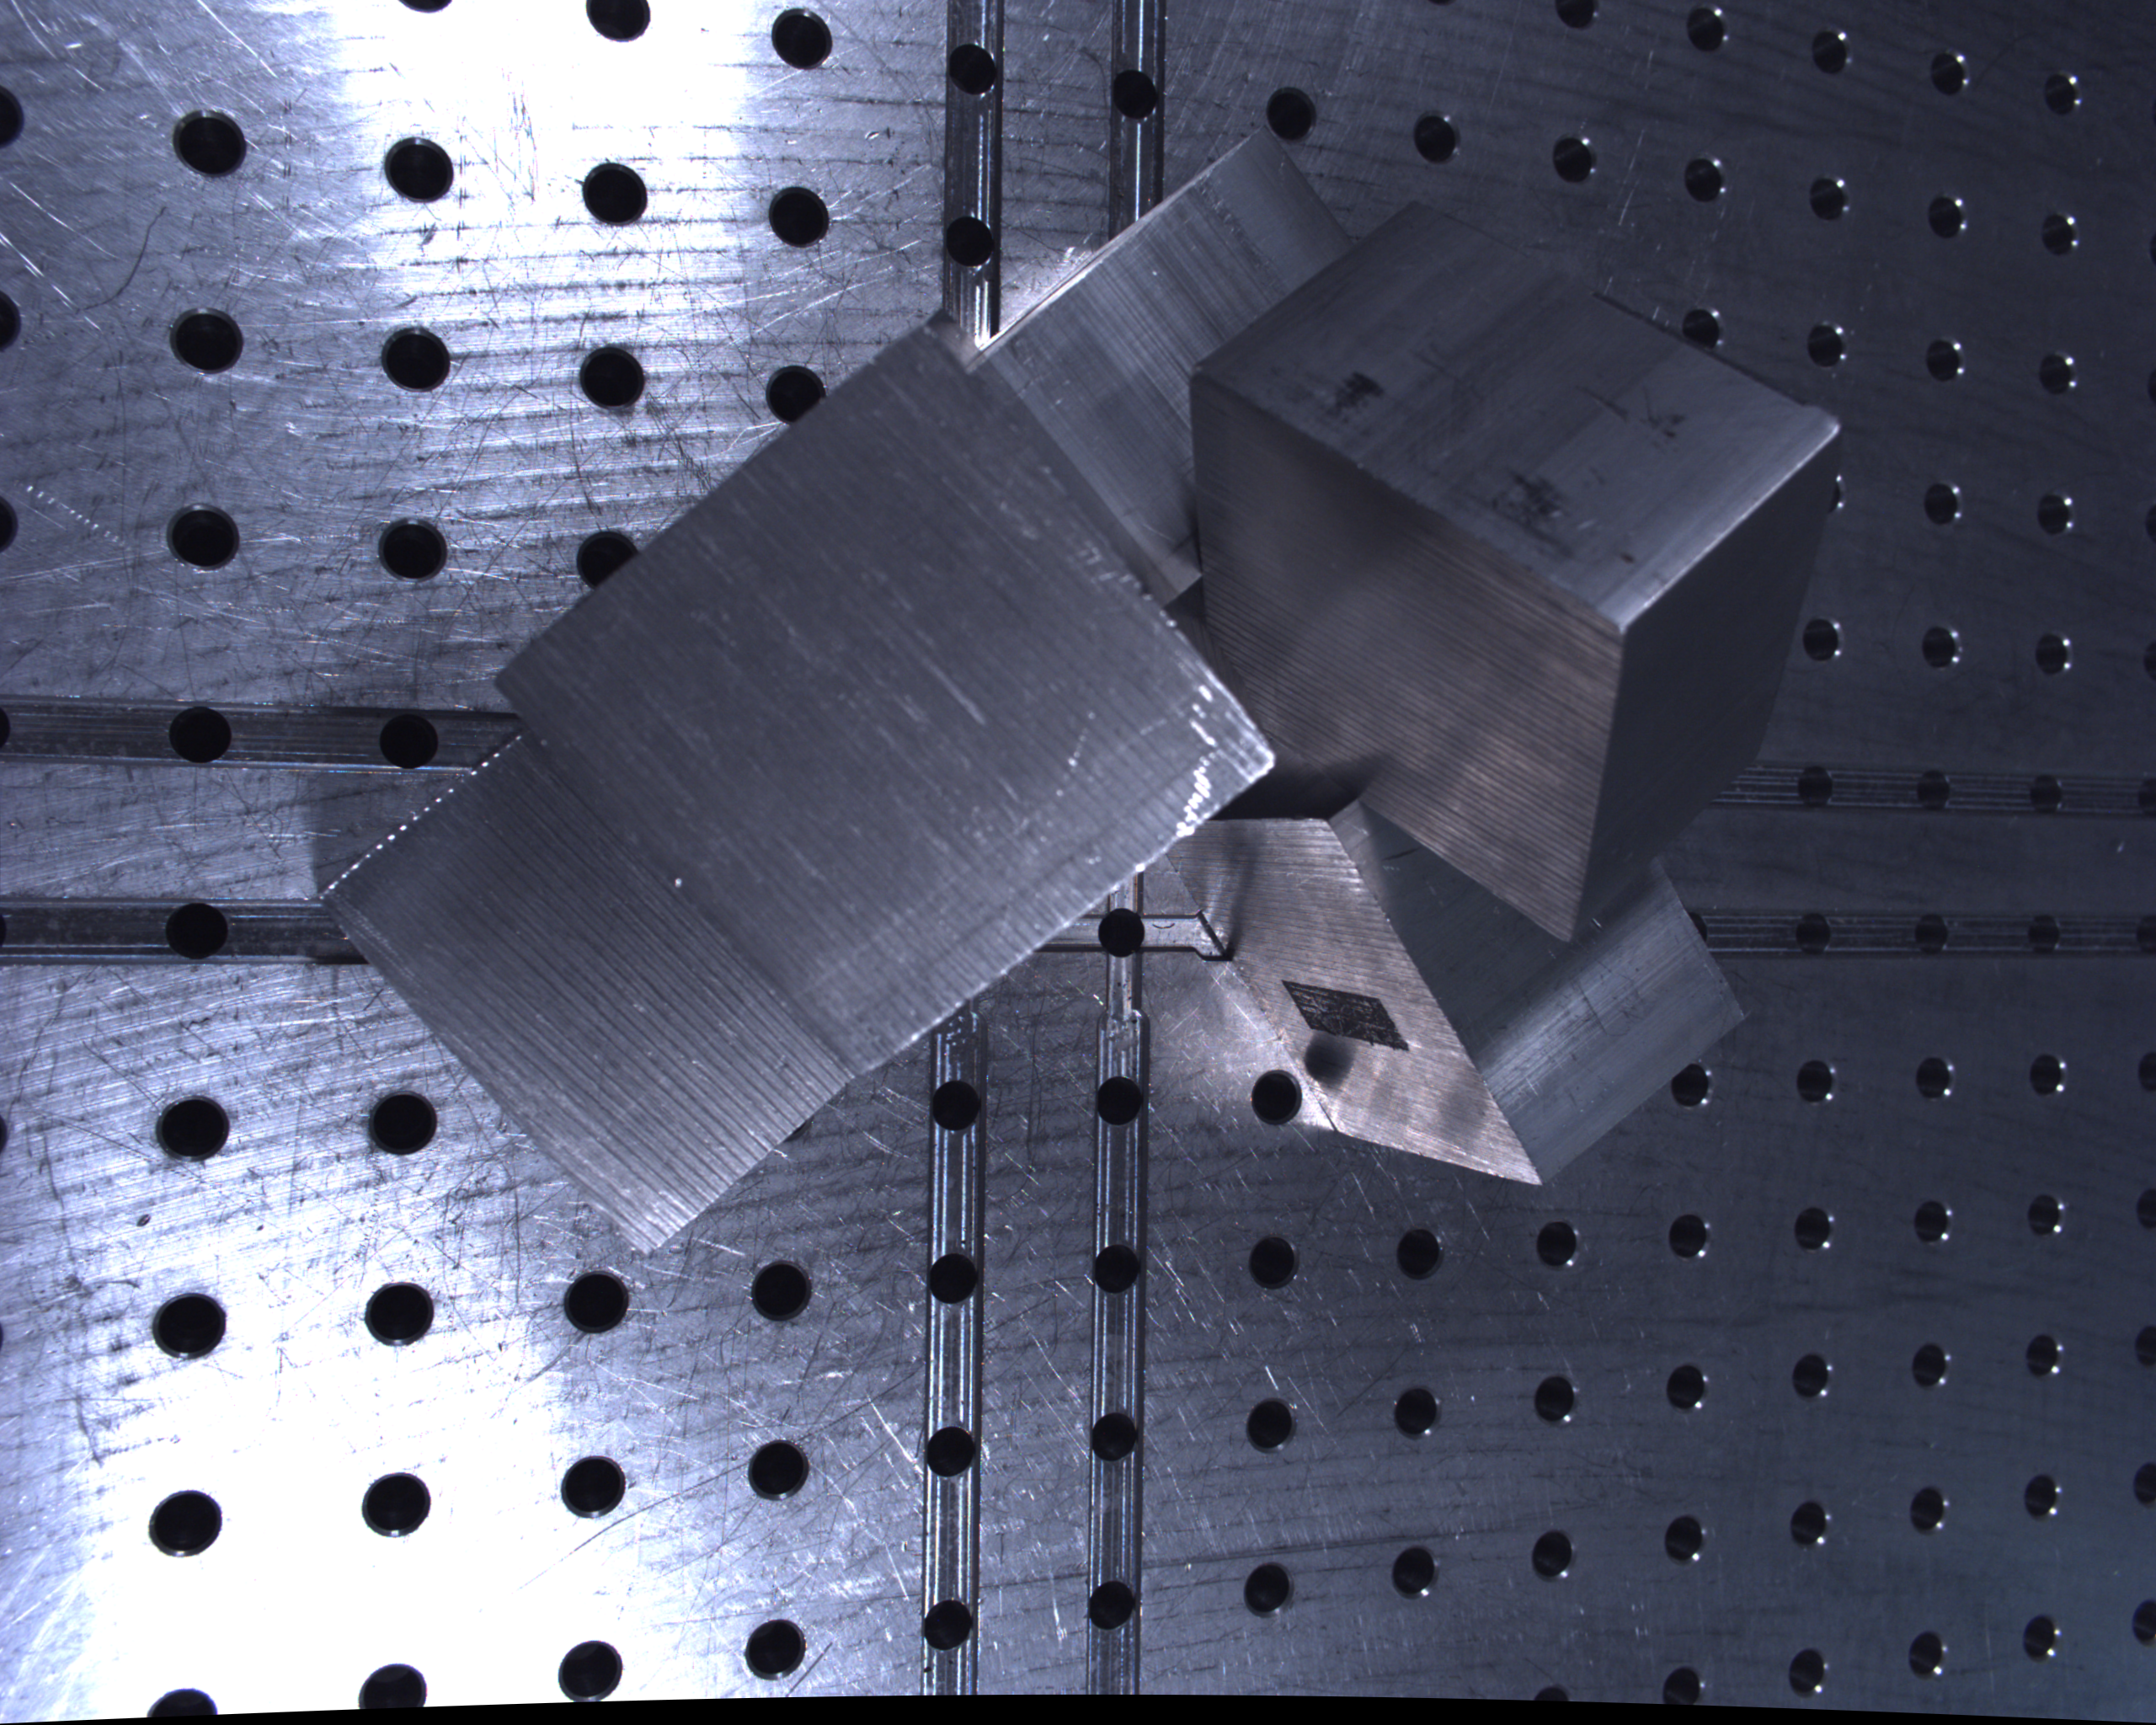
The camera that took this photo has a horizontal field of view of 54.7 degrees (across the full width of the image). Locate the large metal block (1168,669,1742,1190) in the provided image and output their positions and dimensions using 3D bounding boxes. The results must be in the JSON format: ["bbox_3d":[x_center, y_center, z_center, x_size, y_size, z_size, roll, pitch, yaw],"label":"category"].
[{"bbox_3d":[0.069,0.011,0.408,0.050,0.080,0.080,-36,102,-17],"label":"large metal block"}]

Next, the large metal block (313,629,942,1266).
[{"bbox_3d":[-0.076,0.011,0.371,0.080,0.050,0.080,-41,104,-16],"label":"large metal block"}]

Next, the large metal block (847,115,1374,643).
[{"bbox_3d":[0.006,-0.081,0.385,0.080,0.080,0.050,-43,104,-15],"label":"large metal block"}]

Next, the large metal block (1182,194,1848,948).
[{"bbox_3d":[0.065,-0.046,0.333,0.080,0.080,0.050,38,68,27],"label":"large metal block"}]

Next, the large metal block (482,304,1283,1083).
[{"bbox_3d":[-0.028,-0.028,0.320,0.080,0.050,0.080,-38,104,10],"label":"large metal block"}]
